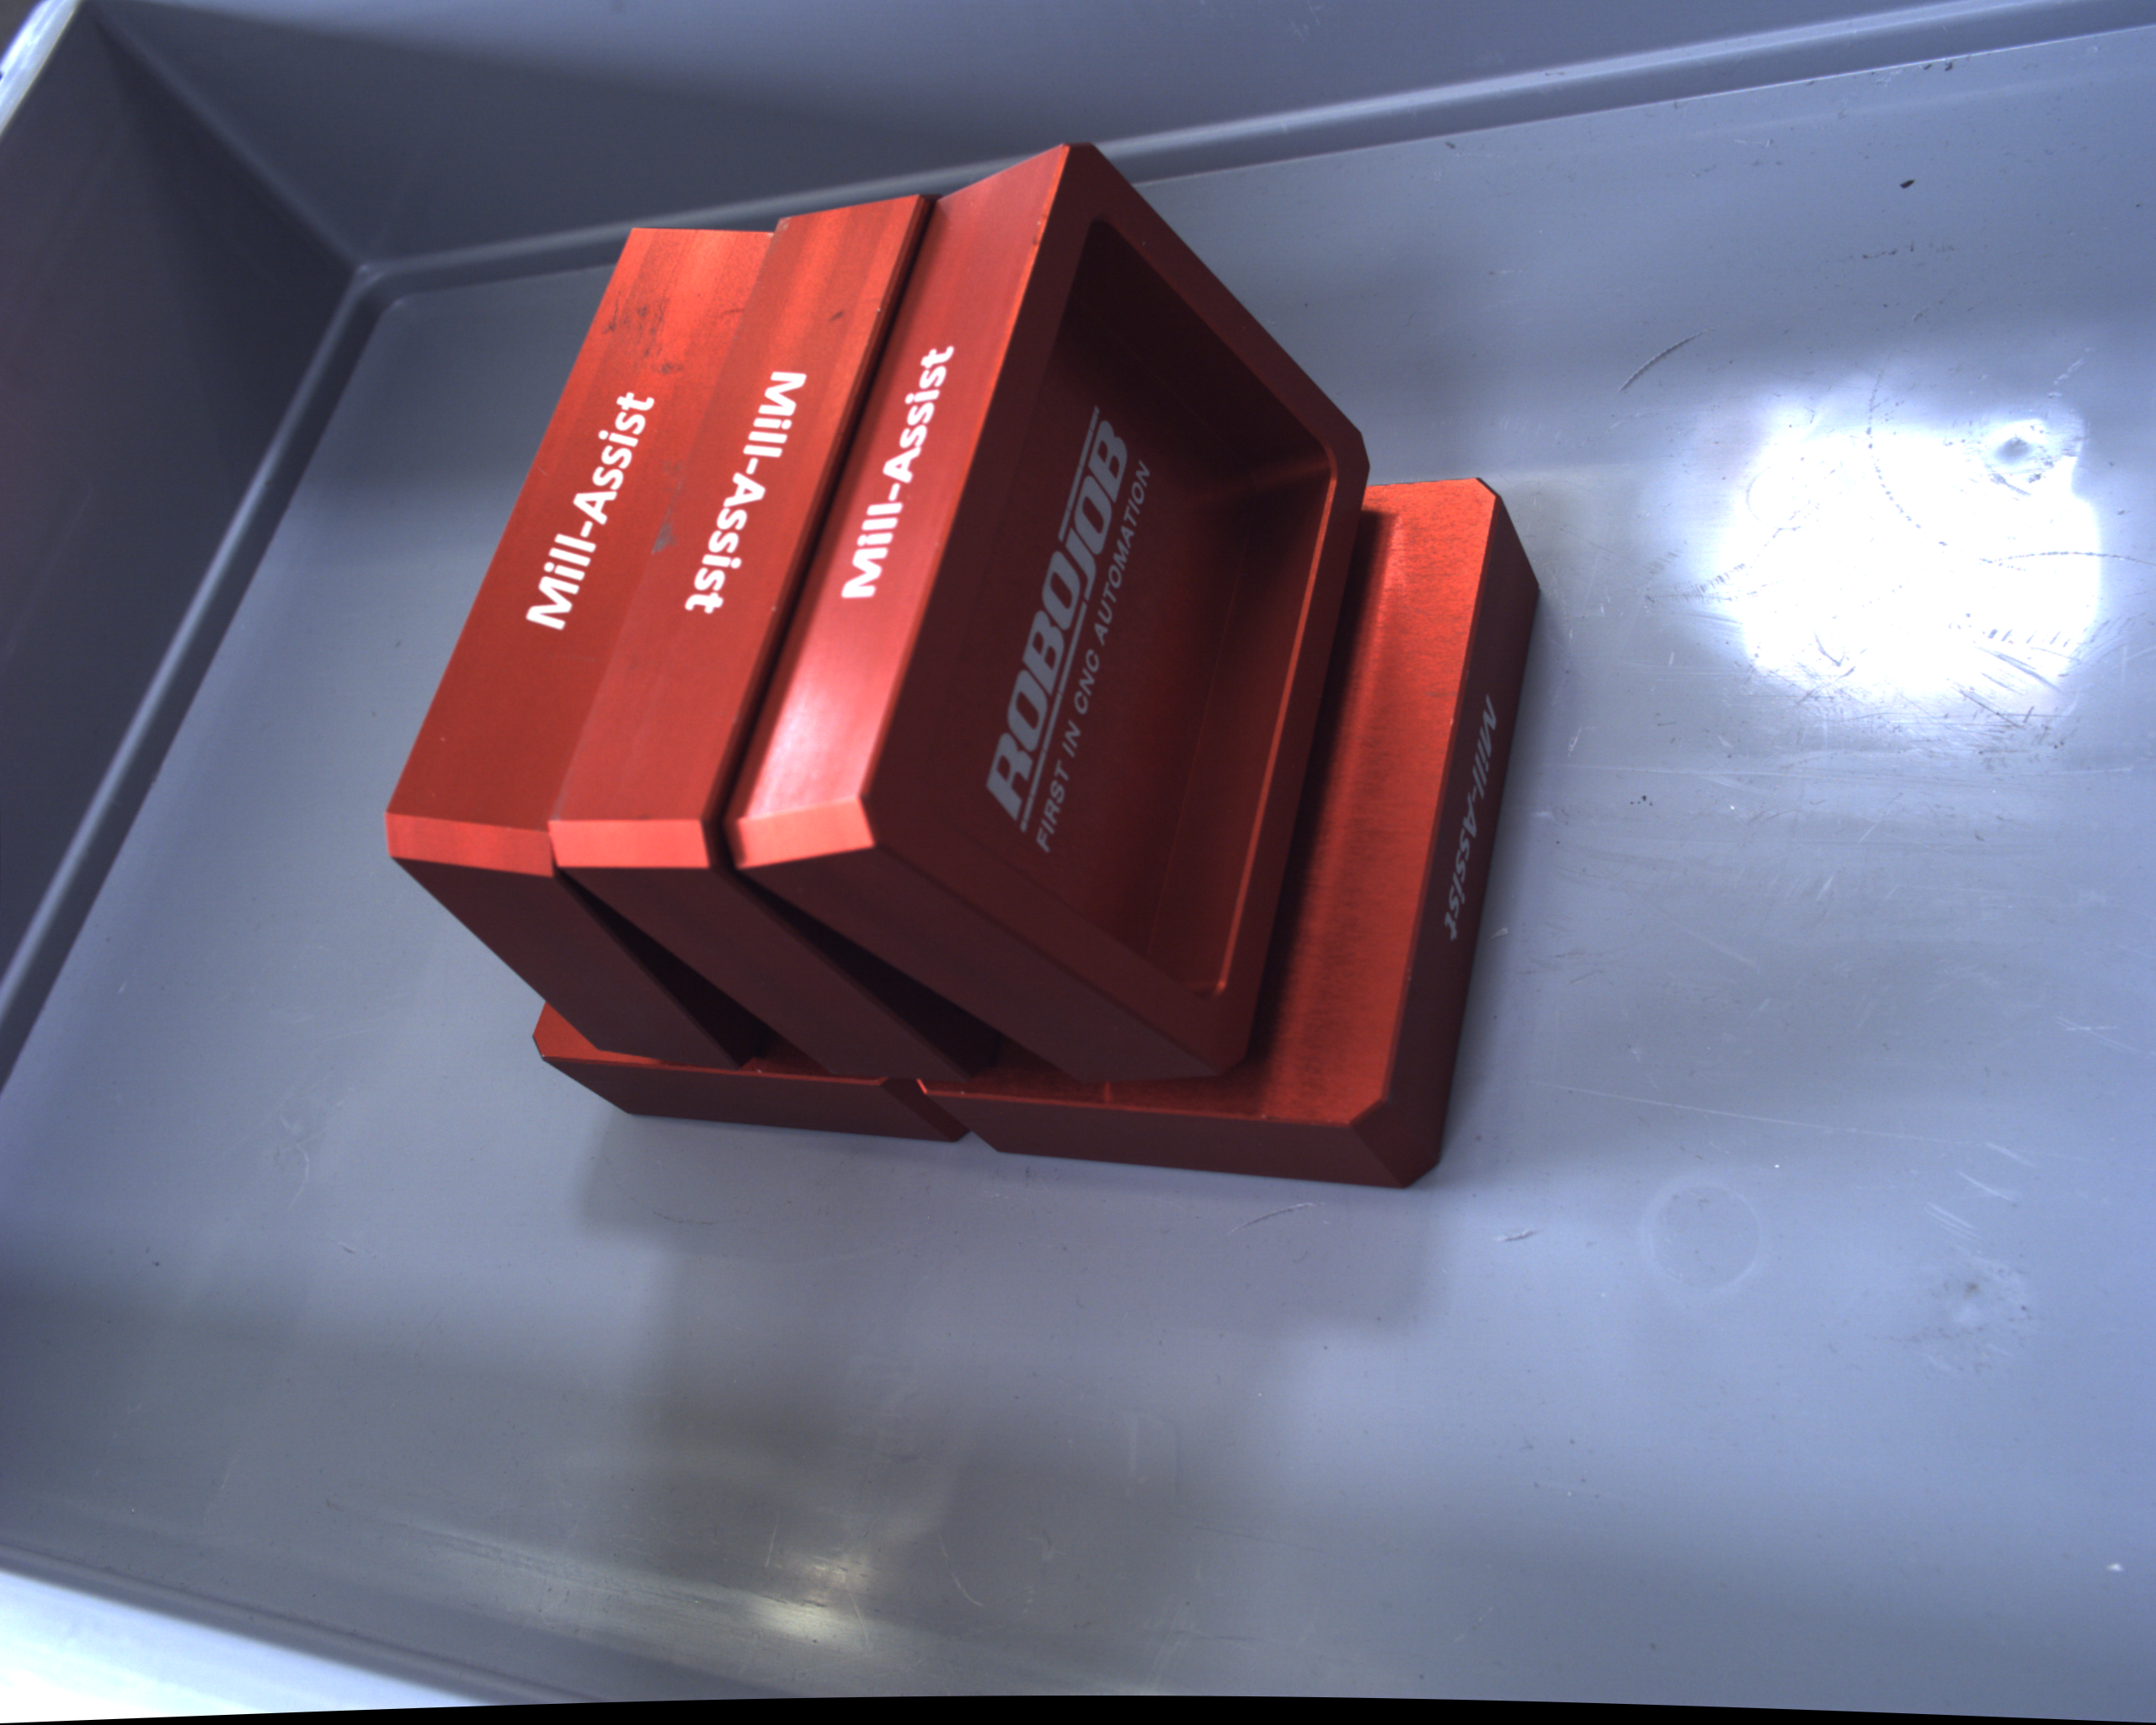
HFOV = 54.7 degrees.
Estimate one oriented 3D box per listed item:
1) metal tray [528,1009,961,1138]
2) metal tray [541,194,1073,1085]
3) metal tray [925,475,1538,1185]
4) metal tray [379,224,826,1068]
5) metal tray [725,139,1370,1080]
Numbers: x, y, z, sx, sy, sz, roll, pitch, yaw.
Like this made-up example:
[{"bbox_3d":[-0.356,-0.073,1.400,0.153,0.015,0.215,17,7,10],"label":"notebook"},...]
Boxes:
[{"bbox_3d":[-0.051,-0.011,0.433,0.090,0.030,0.130,1,62,28],"label":"metal tray"},{"bbox_3d":[-0.034,-0.038,0.363,0.030,0.090,0.130,0,60,28],"label":"metal tray"},{"bbox_3d":[0.030,-0.009,0.391,0.090,0.030,0.130,1,62,28],"label":"metal tray"},{"bbox_3d":[-0.071,-0.039,0.381,0.030,0.090,0.130,6,64,17],"label":"metal tray"},{"bbox_3d":[0.002,-0.040,0.344,0.030,0.090,0.130,-9,57,41],"label":"metal tray"}]
